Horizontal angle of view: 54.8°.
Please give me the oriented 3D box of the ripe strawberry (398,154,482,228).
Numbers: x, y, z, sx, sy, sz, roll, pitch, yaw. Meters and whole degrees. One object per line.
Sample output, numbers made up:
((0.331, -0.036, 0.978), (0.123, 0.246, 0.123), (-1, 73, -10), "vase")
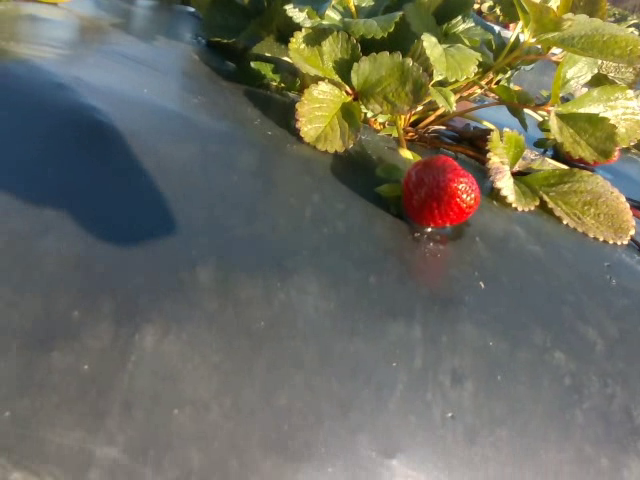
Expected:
((0.040, -0.016, 0.197), (0.028, 0.031, 0.041), (-9, -1, -7), "ripe strawberry")
